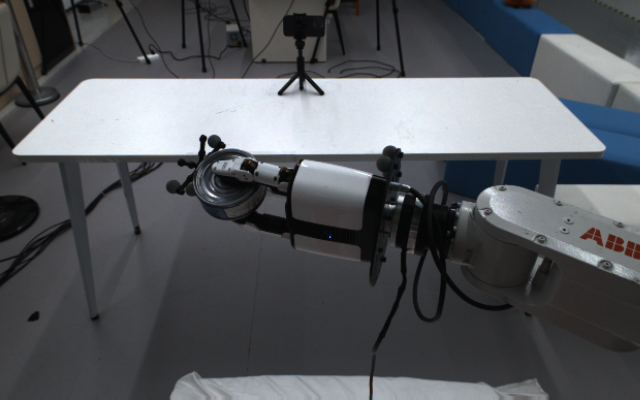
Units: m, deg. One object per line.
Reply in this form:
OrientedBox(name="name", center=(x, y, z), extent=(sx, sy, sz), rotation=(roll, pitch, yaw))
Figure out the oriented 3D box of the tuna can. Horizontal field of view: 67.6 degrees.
OrientedBox(name="tuna can", center=(-0.106, -0.016, 0.589), extent=(0.085, 0.034, 0.085), rotation=(-1, 61, 3))
